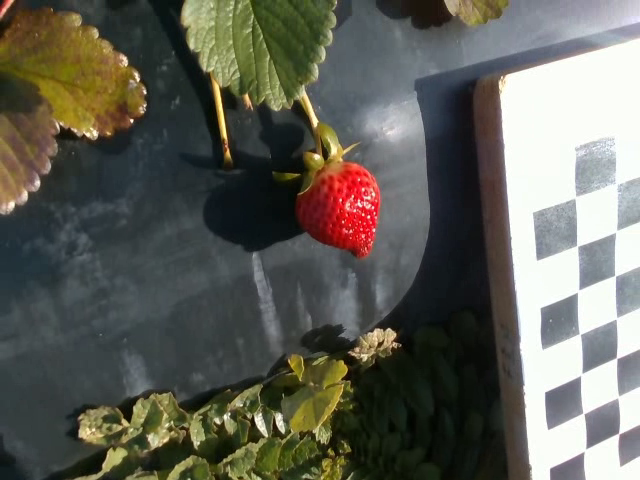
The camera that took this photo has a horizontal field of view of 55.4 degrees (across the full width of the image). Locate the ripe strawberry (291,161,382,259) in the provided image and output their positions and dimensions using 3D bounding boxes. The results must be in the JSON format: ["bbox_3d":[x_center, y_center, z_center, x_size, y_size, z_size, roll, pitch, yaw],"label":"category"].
[{"bbox_3d":[0.010,-0.009,0.237,0.040,0.044,0.036,-35,11,-9],"label":"ripe strawberry"}]
